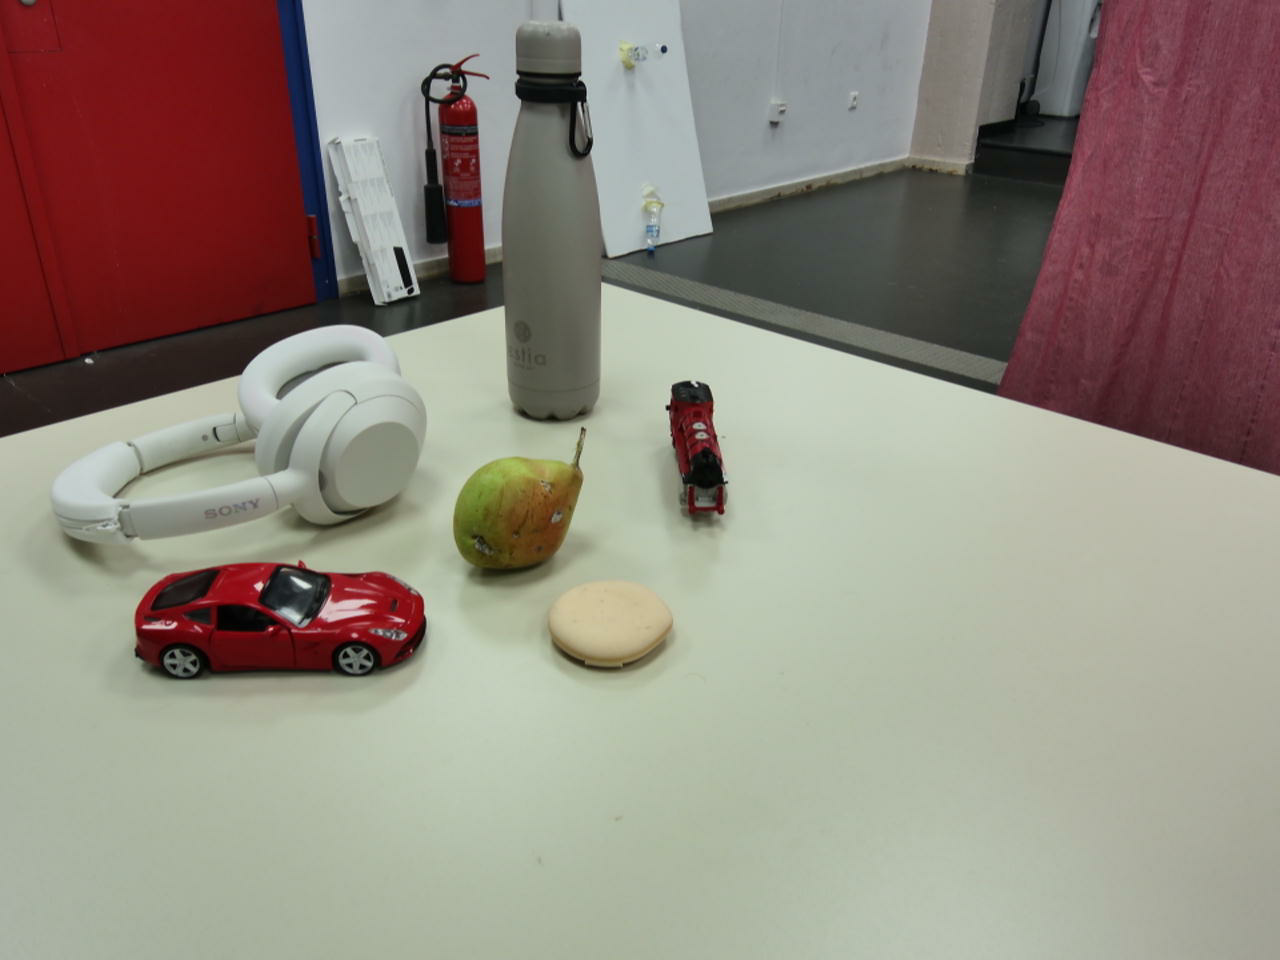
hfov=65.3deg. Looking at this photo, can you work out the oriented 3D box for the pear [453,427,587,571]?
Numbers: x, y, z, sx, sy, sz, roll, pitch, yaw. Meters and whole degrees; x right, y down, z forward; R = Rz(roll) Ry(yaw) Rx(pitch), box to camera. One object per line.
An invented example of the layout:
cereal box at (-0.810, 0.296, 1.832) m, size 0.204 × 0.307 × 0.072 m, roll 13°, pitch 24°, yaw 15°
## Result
pear at (-0.068, 0.015, 0.559) m, size 0.070 × 0.069 × 0.068 m, roll 2°, pitch 25°, yaw 3°
